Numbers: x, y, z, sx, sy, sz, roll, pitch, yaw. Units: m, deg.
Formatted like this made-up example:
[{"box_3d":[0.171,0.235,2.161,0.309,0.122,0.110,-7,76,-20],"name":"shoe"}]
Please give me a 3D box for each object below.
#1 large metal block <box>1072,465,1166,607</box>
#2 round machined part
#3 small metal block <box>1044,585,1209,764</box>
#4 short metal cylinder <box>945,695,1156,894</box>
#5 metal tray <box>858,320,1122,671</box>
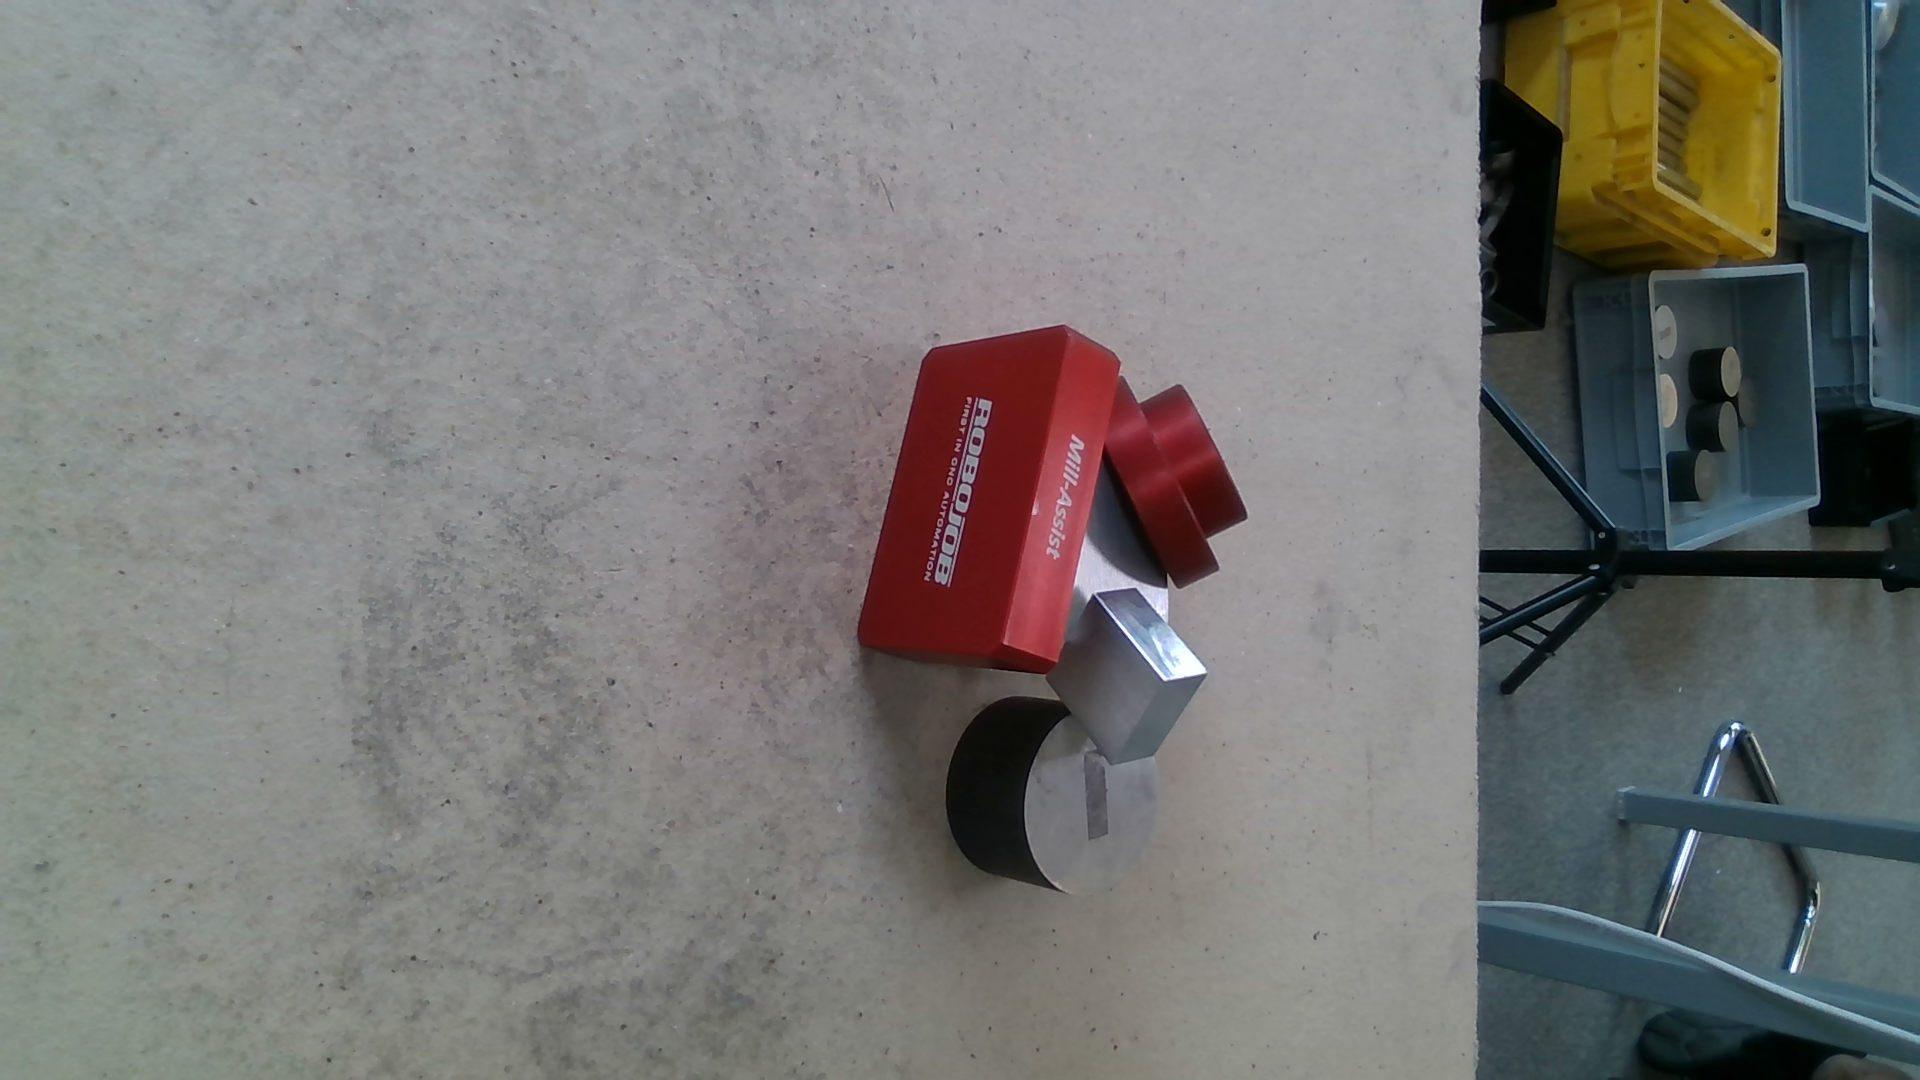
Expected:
[{"box_3d":[0.044,0.001,0.607,0.080,0.050,0.080,-2,91,-40],"name":"large metal block"},{"box_3d":[0.095,-0.032,0.615,0.042,0.098,0.098,-26,113,9],"name":"round machined part"},{"box_3d":[0.067,0.055,0.564,0.025,0.050,0.050,-5,135,-38],"name":"small metal block"},{"box_3d":[0.040,0.110,0.603,0.080,0.050,0.080,0,90,-40],"name":"short metal cylinder"},{"box_3d":[0.011,-0.017,0.549,0.030,0.090,0.130,21,76,-38],"name":"metal tray"}]
